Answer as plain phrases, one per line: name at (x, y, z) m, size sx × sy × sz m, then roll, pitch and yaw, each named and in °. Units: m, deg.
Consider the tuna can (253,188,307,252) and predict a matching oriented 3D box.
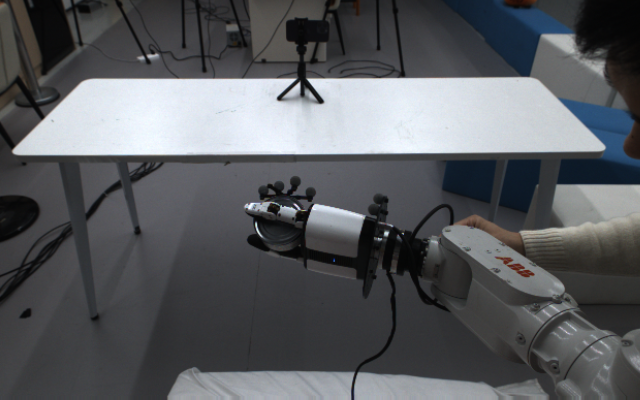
tuna can at (-0.062, 0.038, 0.772) m, size 0.085 × 0.034 × 0.085 m, roll -3°, pitch 61°, yaw 6°
